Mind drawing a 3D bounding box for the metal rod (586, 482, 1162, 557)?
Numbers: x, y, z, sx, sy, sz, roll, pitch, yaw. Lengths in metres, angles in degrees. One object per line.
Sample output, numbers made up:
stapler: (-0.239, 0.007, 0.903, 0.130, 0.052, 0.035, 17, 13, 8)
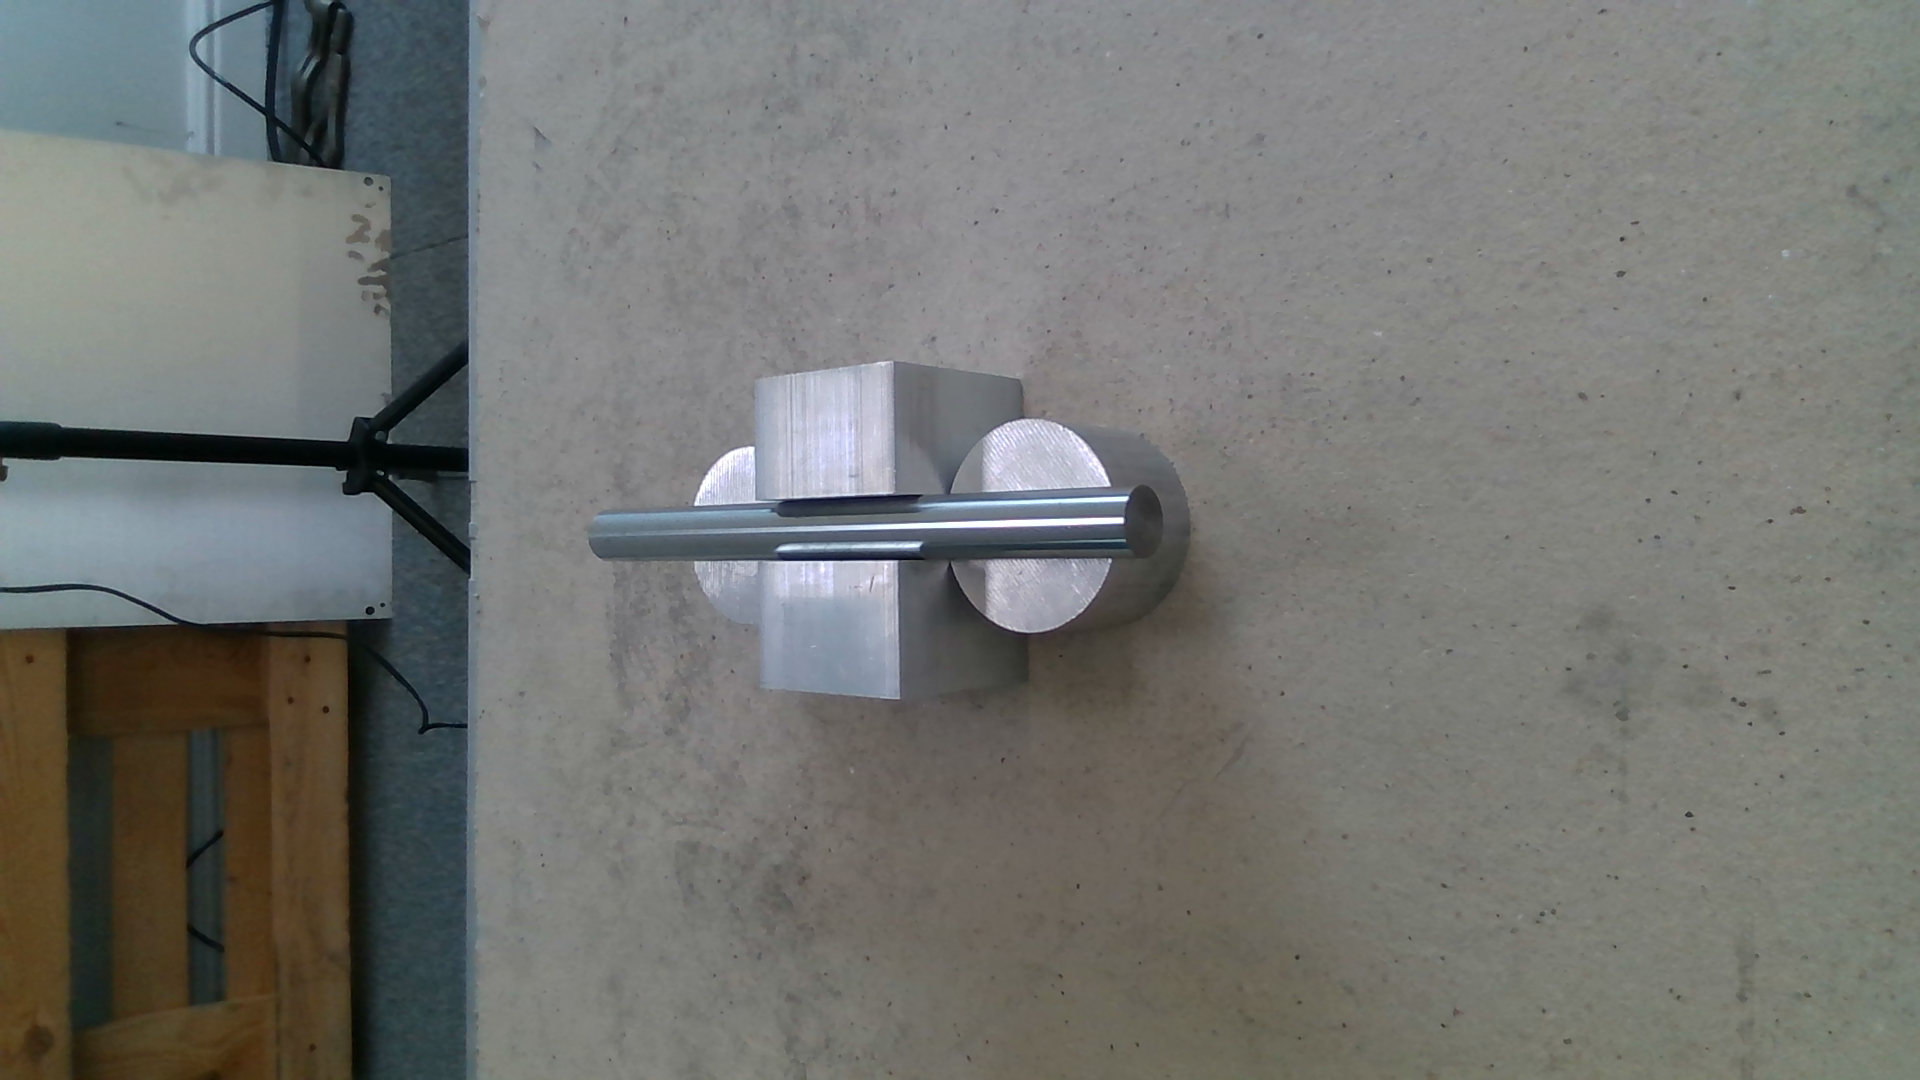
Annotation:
metal rod: (-0.053, -0.005, 0.561, 0.300, 0.025, 0.025, -1, 90, 40)

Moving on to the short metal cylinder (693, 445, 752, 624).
short metal cylinder: (-0.079, -0.003, 0.634, 0.080, 0.050, 0.080, 0, 91, 40)

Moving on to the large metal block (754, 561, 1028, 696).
large metal block: (-0.028, 0.034, 0.571, 0.080, 0.080, 0.050, -1, 90, 40)

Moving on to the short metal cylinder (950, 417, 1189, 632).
short metal cylinder: (0.041, -0.006, 0.532, 0.080, 0.050, 0.080, 0, 91, 40)

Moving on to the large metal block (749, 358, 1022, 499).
large metal block: (-0.030, -0.043, 0.571, 0.080, 0.080, 0.050, -1, 90, 40)
